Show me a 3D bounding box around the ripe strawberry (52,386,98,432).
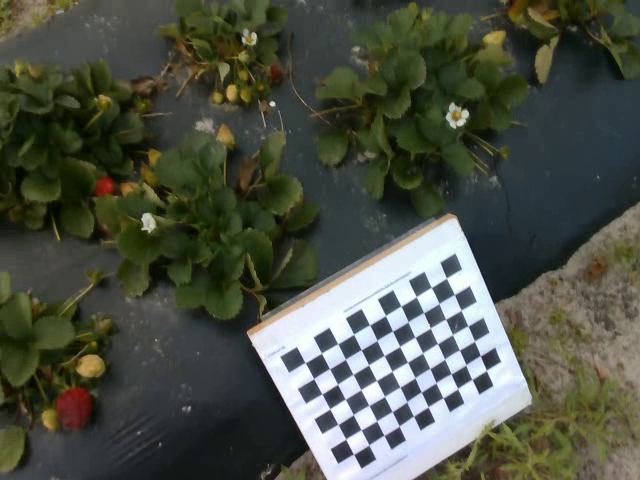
[{"bbox_3d":[-0.292,0.203,0.862,0.046,0.046,0.059,-34,39,-7],"label":"ripe strawberry"}]
